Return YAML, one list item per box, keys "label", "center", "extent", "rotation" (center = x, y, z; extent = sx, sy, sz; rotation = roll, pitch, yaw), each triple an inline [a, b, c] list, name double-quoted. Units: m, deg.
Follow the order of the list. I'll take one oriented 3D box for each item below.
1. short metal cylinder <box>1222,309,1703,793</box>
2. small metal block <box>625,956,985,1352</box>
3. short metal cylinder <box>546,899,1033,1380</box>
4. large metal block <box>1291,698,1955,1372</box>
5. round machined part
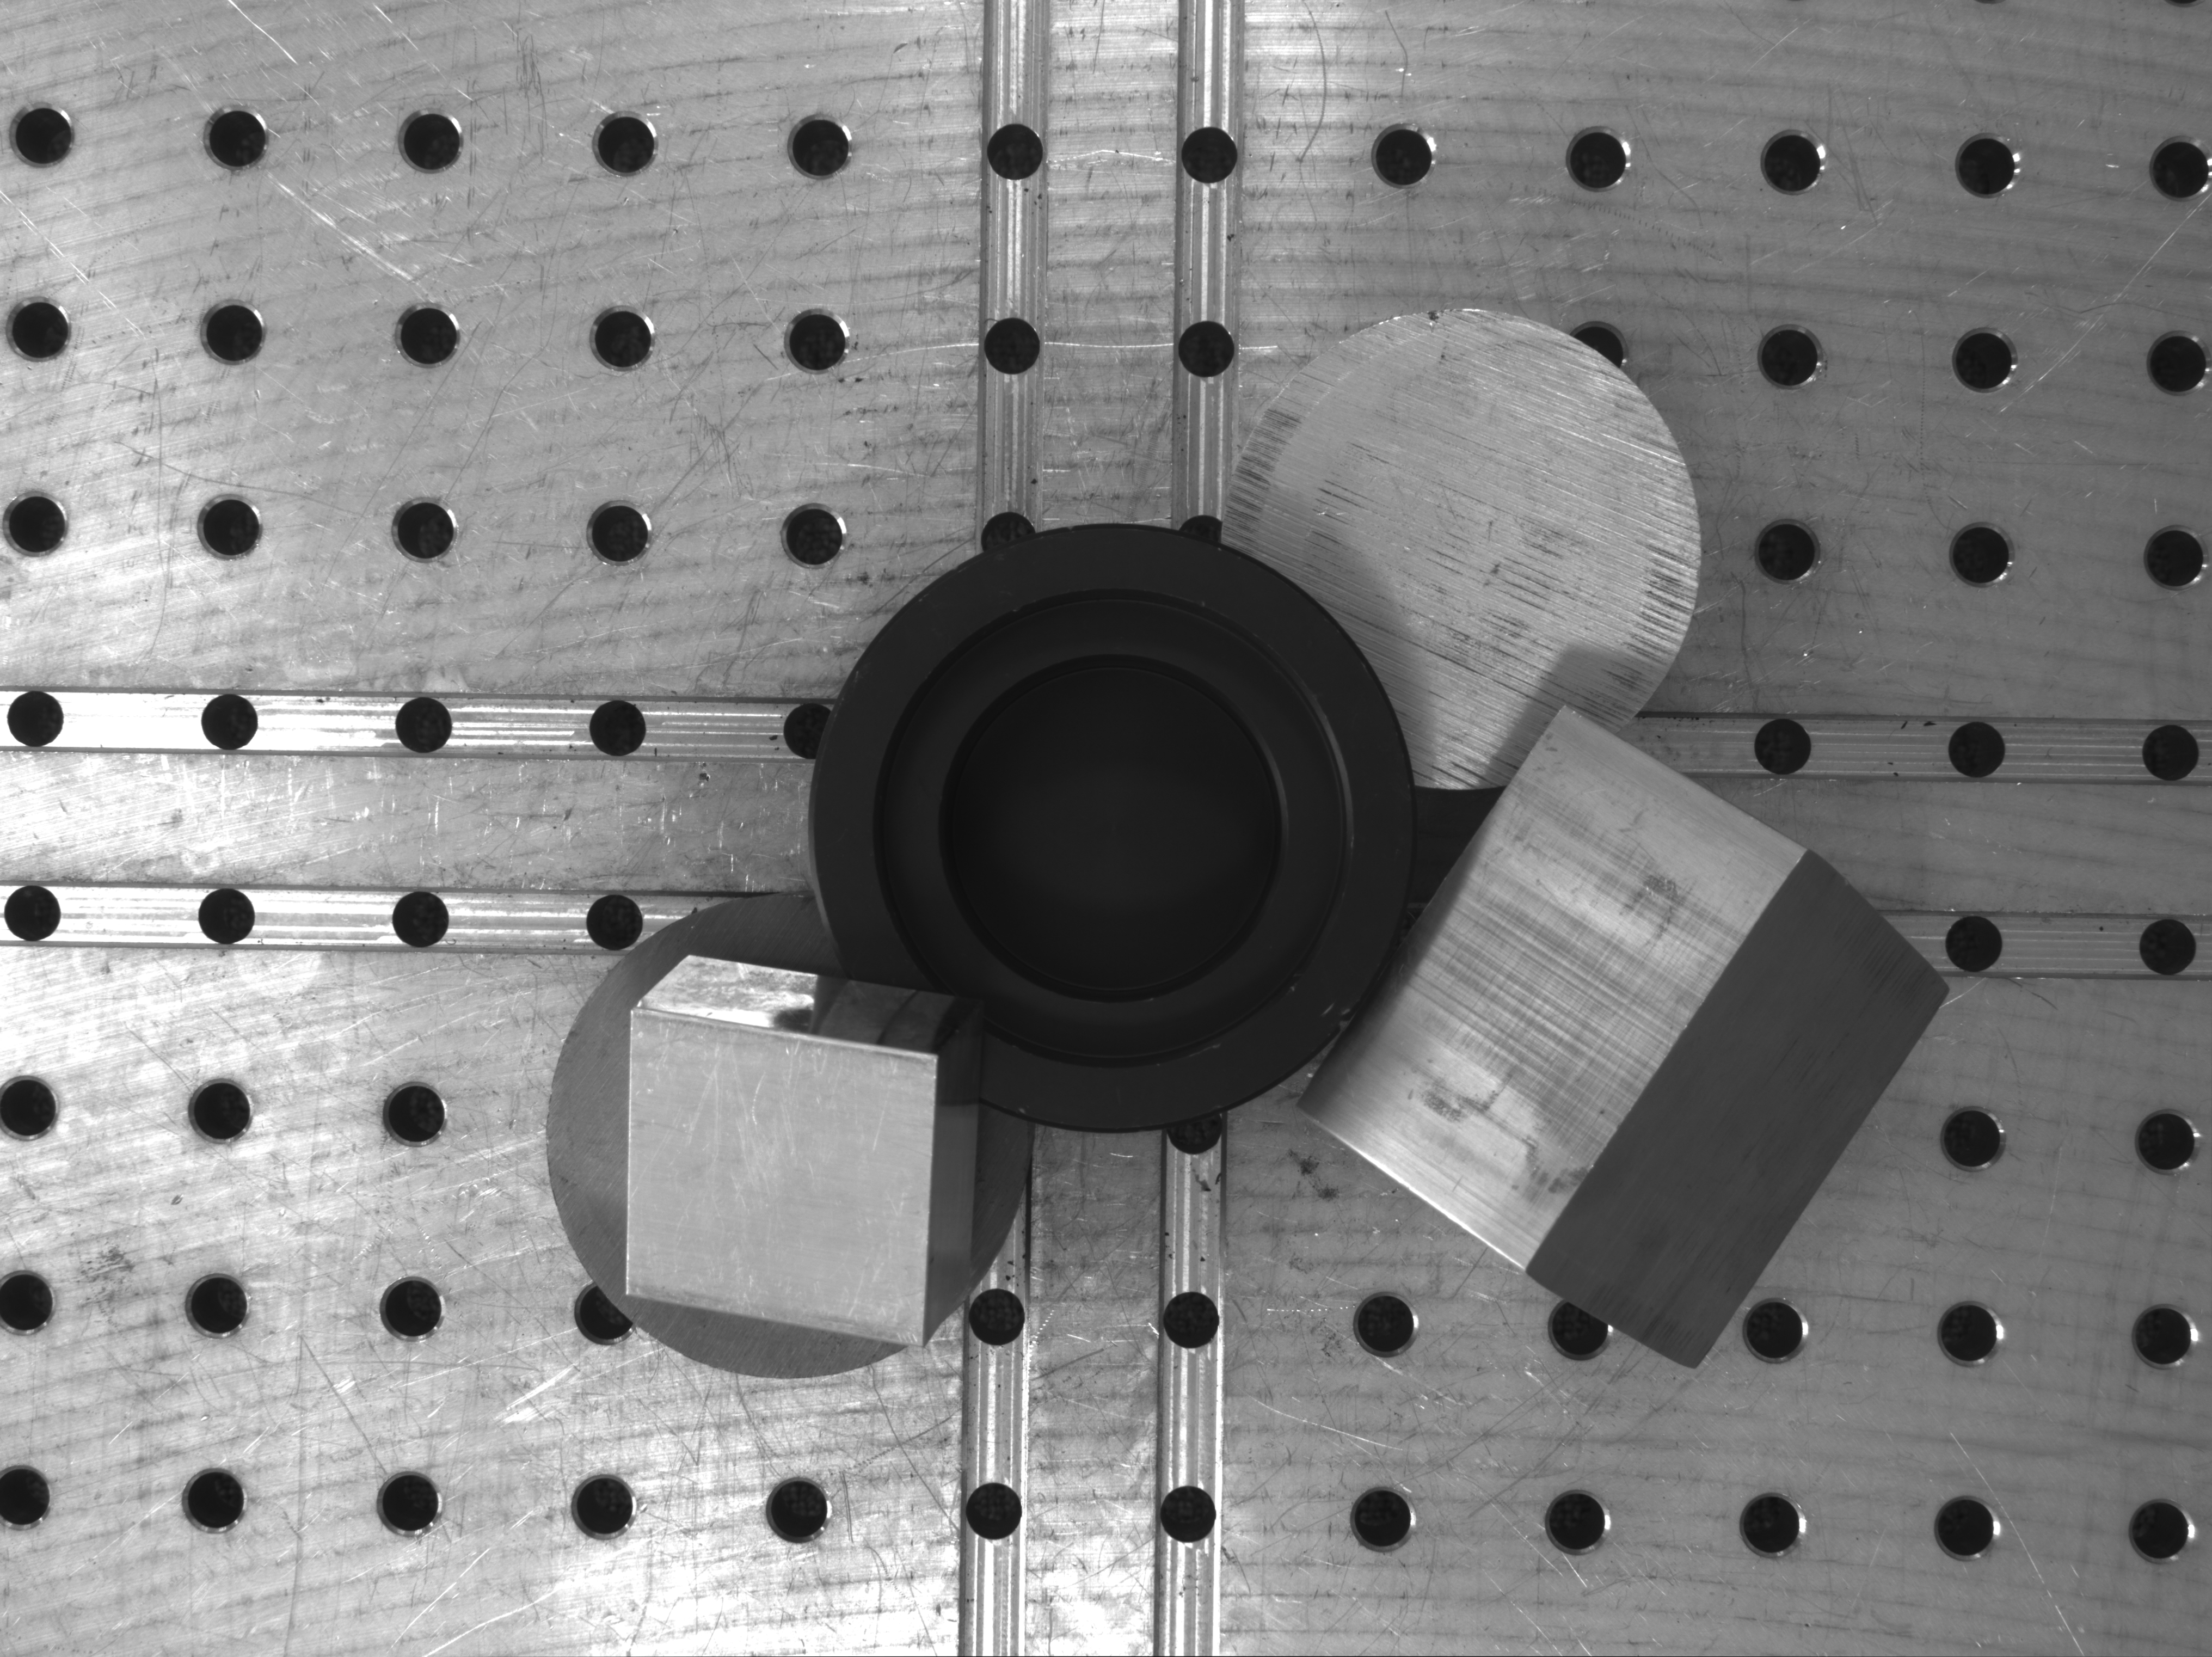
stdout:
- label: "short metal cylinder"
  center: [0.059, -0.046, 0.636]
  extent: [0.080, 0.050, 0.080]
  rotation: [0, 90, 0]
- label: "small metal block"
  center: [-0.048, 0.051, 0.586]
  extent: [0.050, 0.025, 0.050]
  rotation: [8, 109, 12]
- label: "short metal cylinder"
  center: [-0.053, 0.052, 0.635]
  extent: [0.080, 0.050, 0.080]
  rotation: [0, 90, 0]
- label: "large metal block"
  center: [0.088, 0.036, 0.614]
  extent: [0.050, 0.080, 0.080]
  rotation: [34, 90, 34]
- label: "round machined part"
  center: [0.001, 0.000, 0.610]
  extent: [0.098, 0.042, 0.098]
  rotation: [0, 90, 0]
